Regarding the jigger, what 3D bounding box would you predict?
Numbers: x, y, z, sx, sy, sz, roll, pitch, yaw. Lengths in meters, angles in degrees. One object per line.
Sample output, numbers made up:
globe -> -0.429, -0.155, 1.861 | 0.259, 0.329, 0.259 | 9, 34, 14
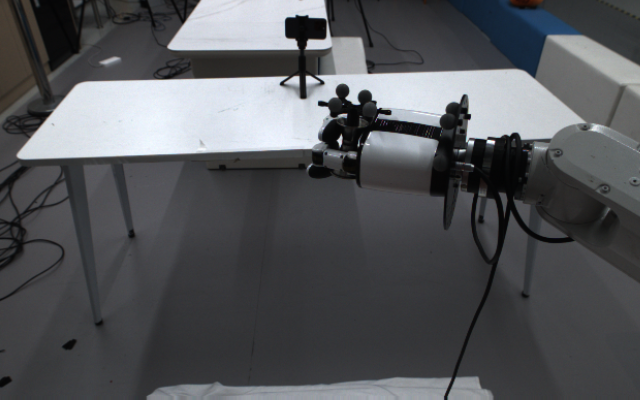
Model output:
jigger -> 0.036, -0.067, 0.609 | 0.043, 0.071, 0.043 | 5, 26, -3
